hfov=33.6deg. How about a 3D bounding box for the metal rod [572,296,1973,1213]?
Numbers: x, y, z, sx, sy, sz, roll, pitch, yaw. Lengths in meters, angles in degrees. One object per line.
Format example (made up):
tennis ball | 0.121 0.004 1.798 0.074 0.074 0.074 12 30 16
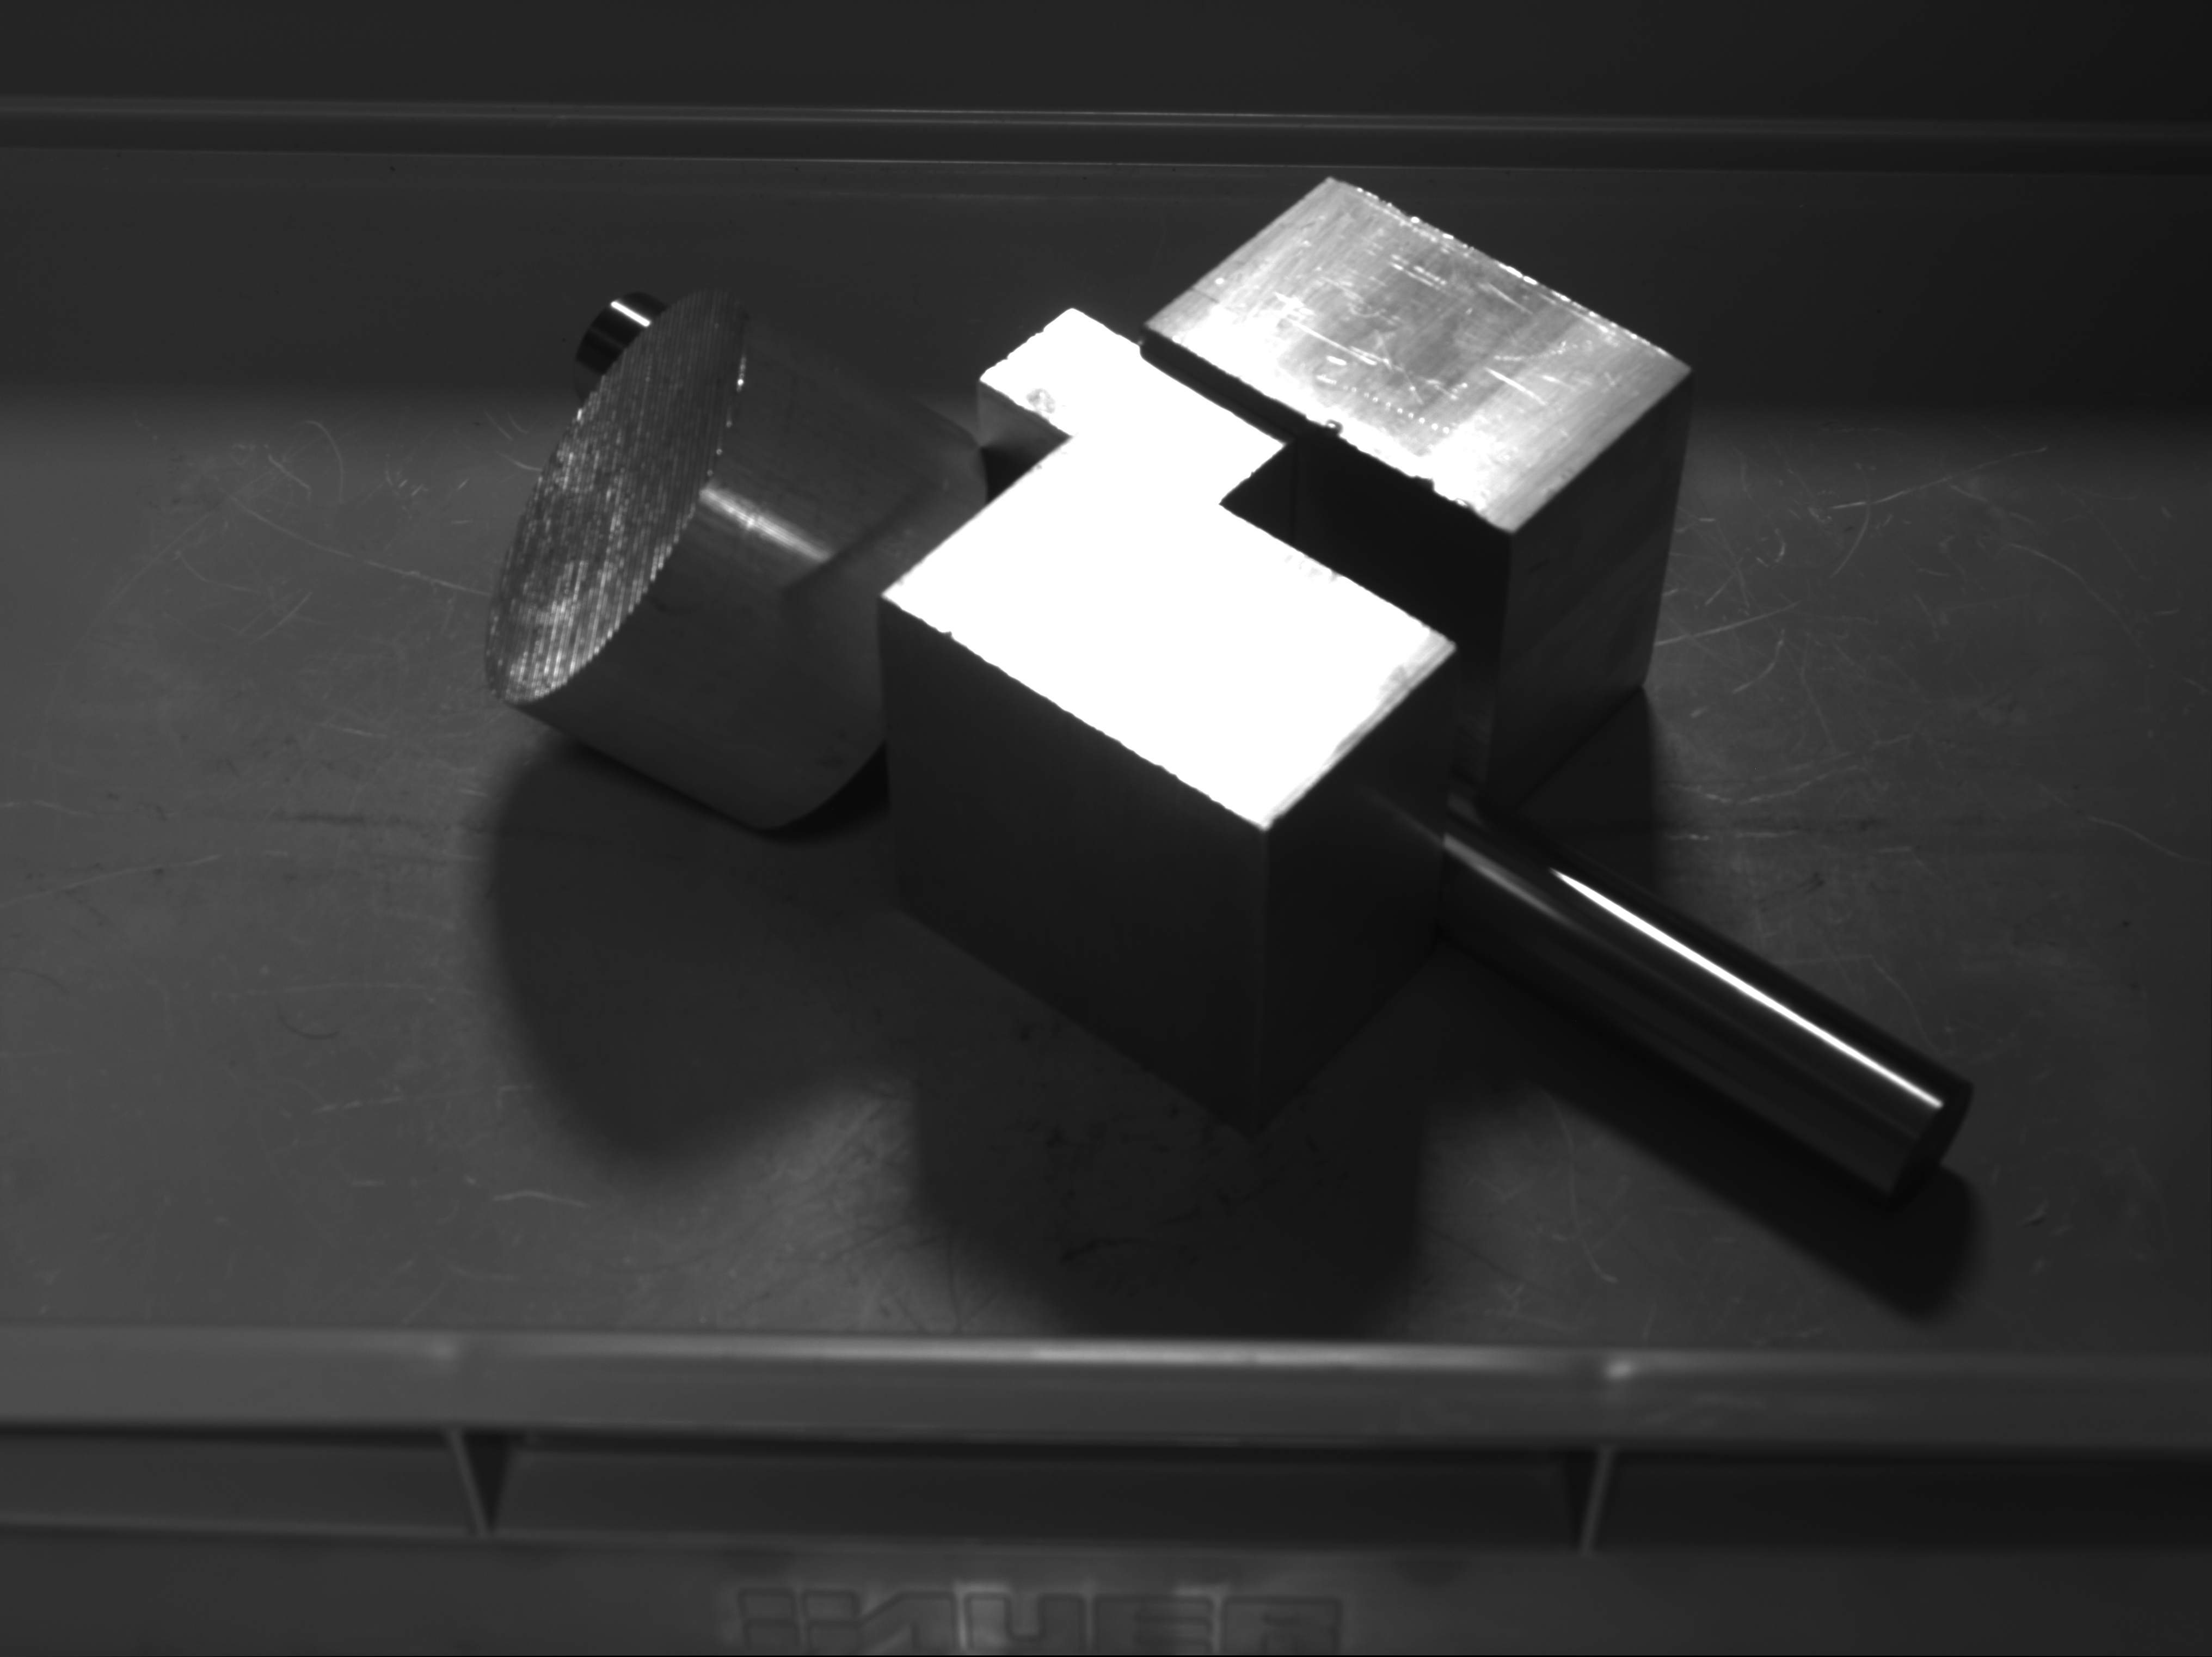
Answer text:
metal rod | 0.019 -0.021 0.659 0.299 0.025 0.025 32 57 24

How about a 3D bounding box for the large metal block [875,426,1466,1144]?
large metal block | 0.010 -0.007 0.612 0.080 0.080 0.050 32 57 24

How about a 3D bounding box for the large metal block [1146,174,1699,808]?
large metal block | 0.054 -0.056 0.654 0.080 0.080 0.050 33 57 25

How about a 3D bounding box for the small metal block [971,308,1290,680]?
small metal block | 0.004 -0.055 0.641 0.050 0.050 0.025 34 58 25

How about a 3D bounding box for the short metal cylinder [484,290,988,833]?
short metal cylinder | -0.065 -0.046 0.636 0.050 0.080 0.080 28 43 -28
